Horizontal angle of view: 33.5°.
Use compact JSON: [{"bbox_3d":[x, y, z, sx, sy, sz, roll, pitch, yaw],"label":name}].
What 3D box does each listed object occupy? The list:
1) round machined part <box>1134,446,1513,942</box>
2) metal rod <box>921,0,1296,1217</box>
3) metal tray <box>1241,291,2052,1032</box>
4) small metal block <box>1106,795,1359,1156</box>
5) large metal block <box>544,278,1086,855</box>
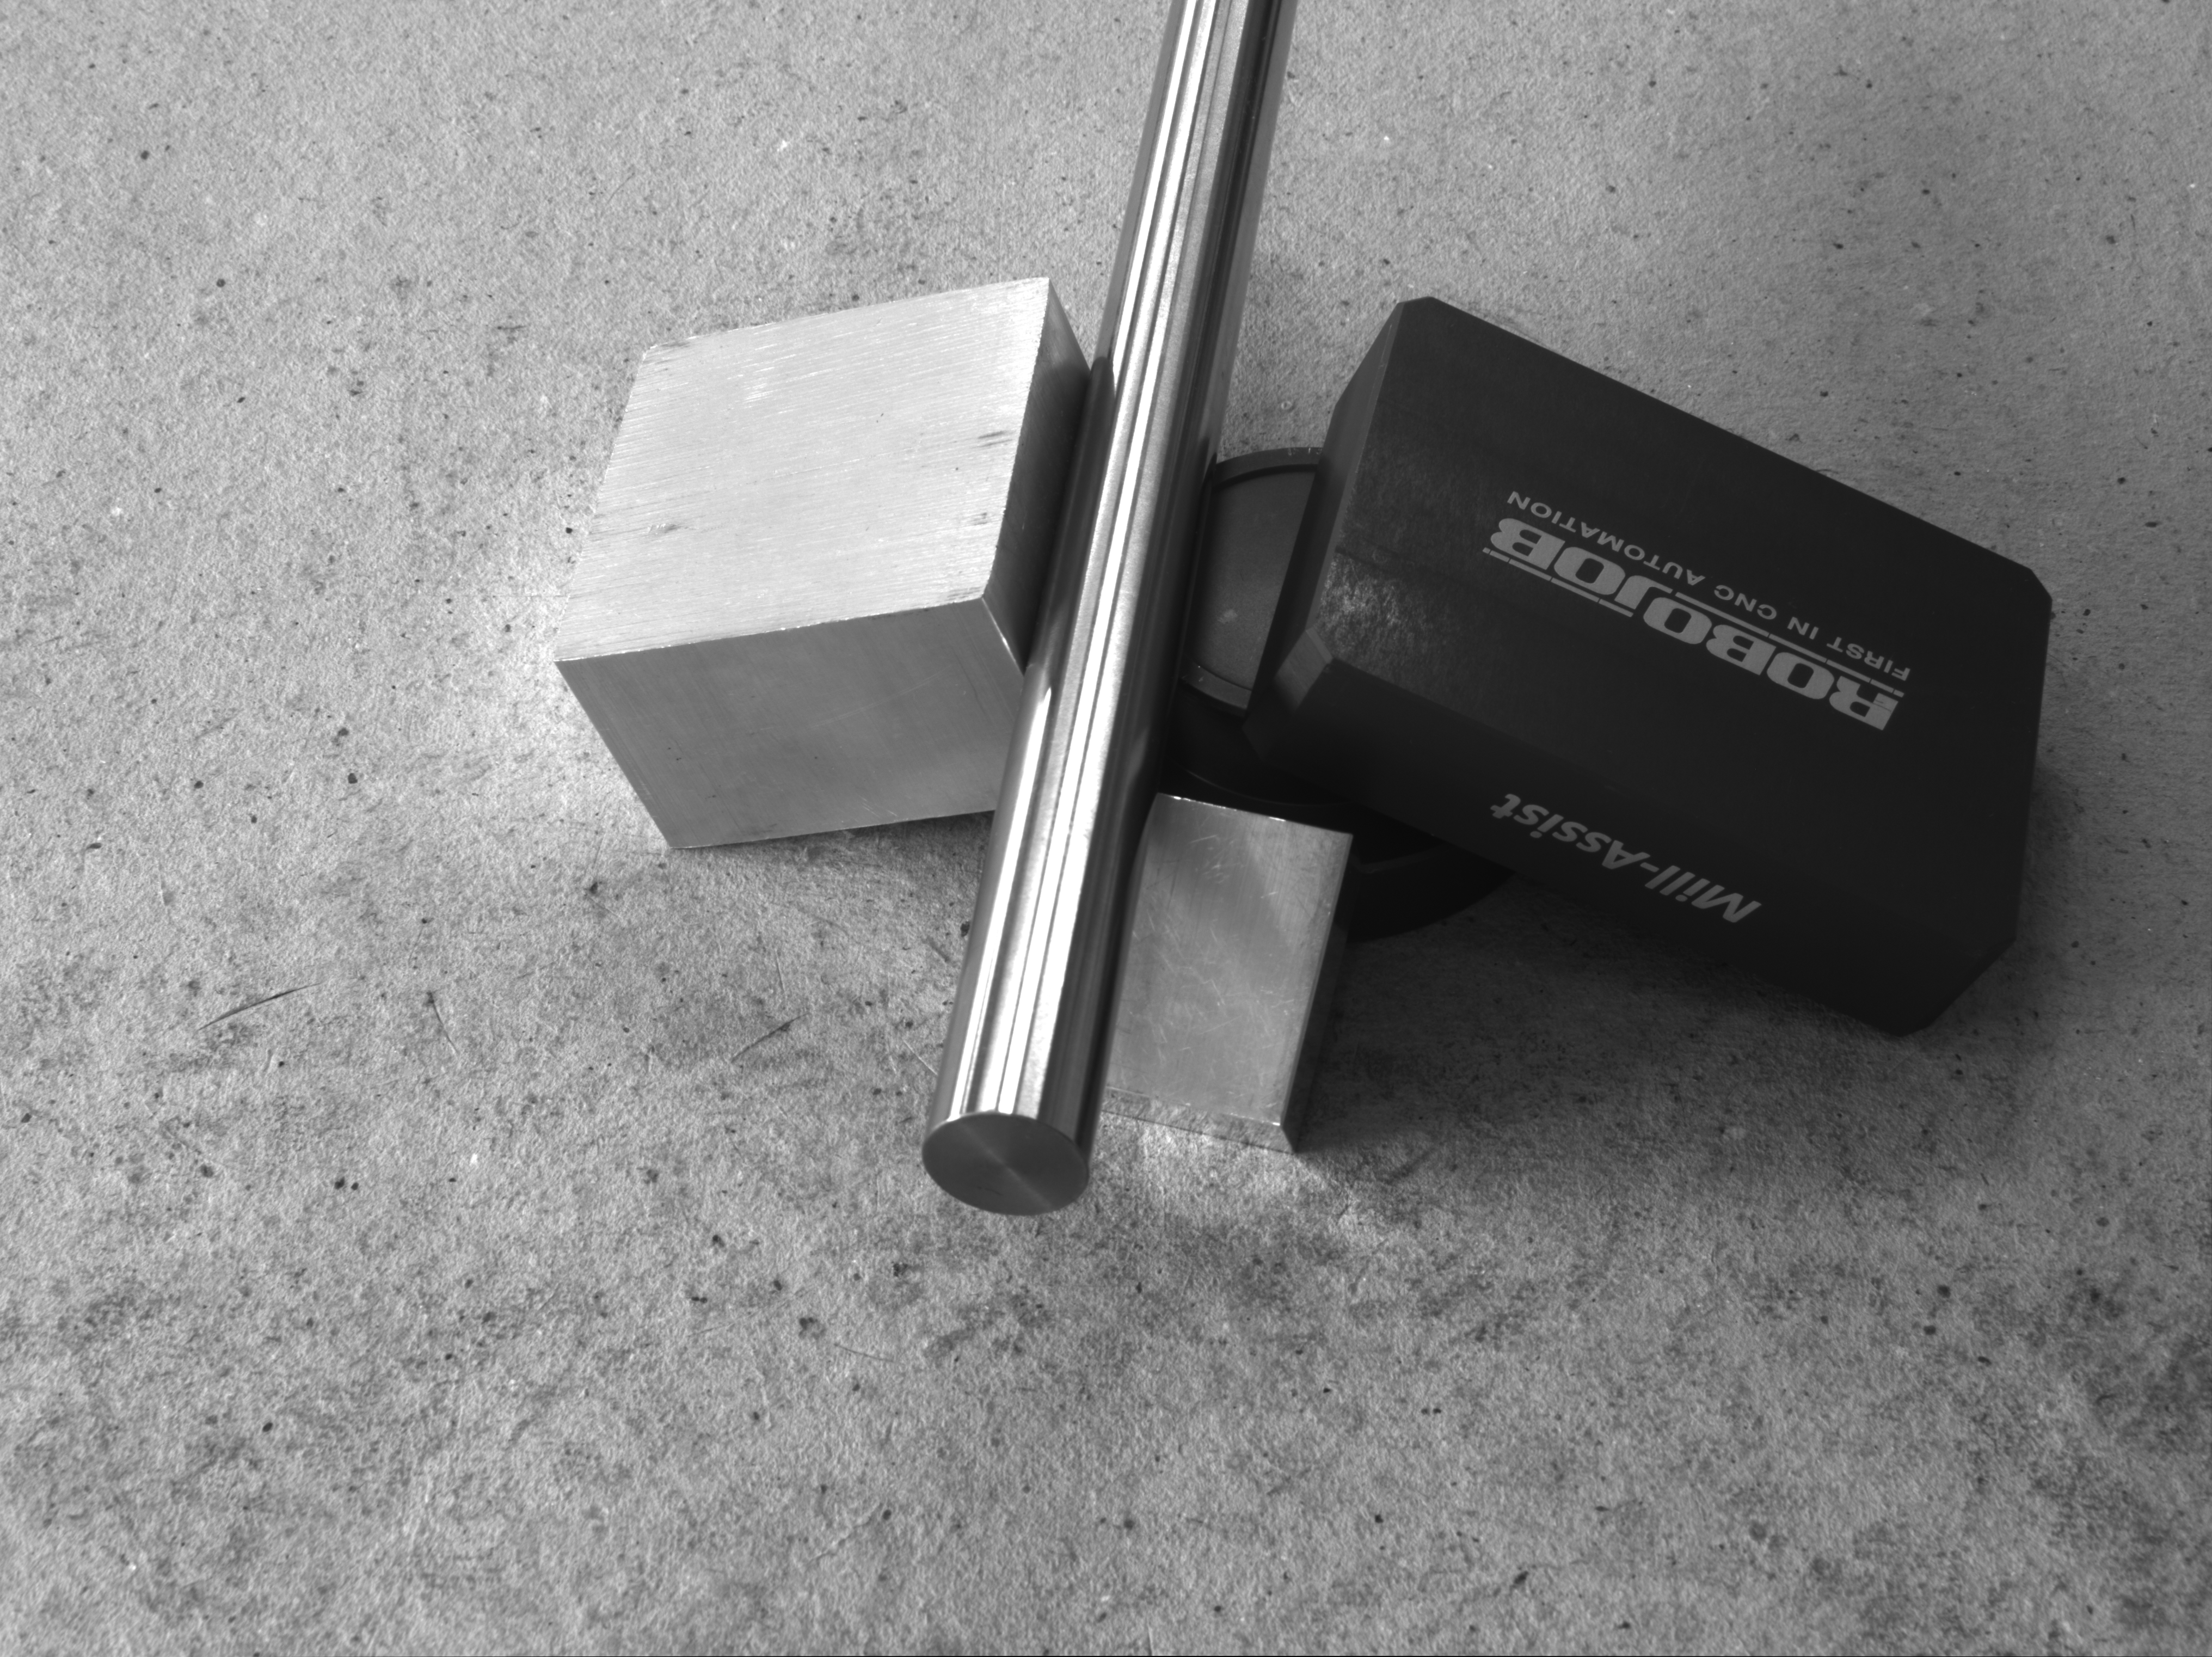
[{"bbox_3d":[0.037,-0.030,0.657,0.098,0.042,0.098,0,50,0],"label":"round machined part"},{"bbox_3d":[0.006,-0.060,0.639,0.025,0.025,0.300,6,48,5],"label":"metal rod"},{"bbox_3d":[0.096,-0.030,0.636,0.130,0.030,0.090,23,52,-7],"label":"metal tray"},{"bbox_3d":[0.011,0.023,0.611,0.050,0.025,0.050,12,76,11],"label":"small metal block"},{"bbox_3d":[-0.044,-0.046,0.651,0.080,0.050,0.080,-7,48,18],"label":"large metal block"}]
